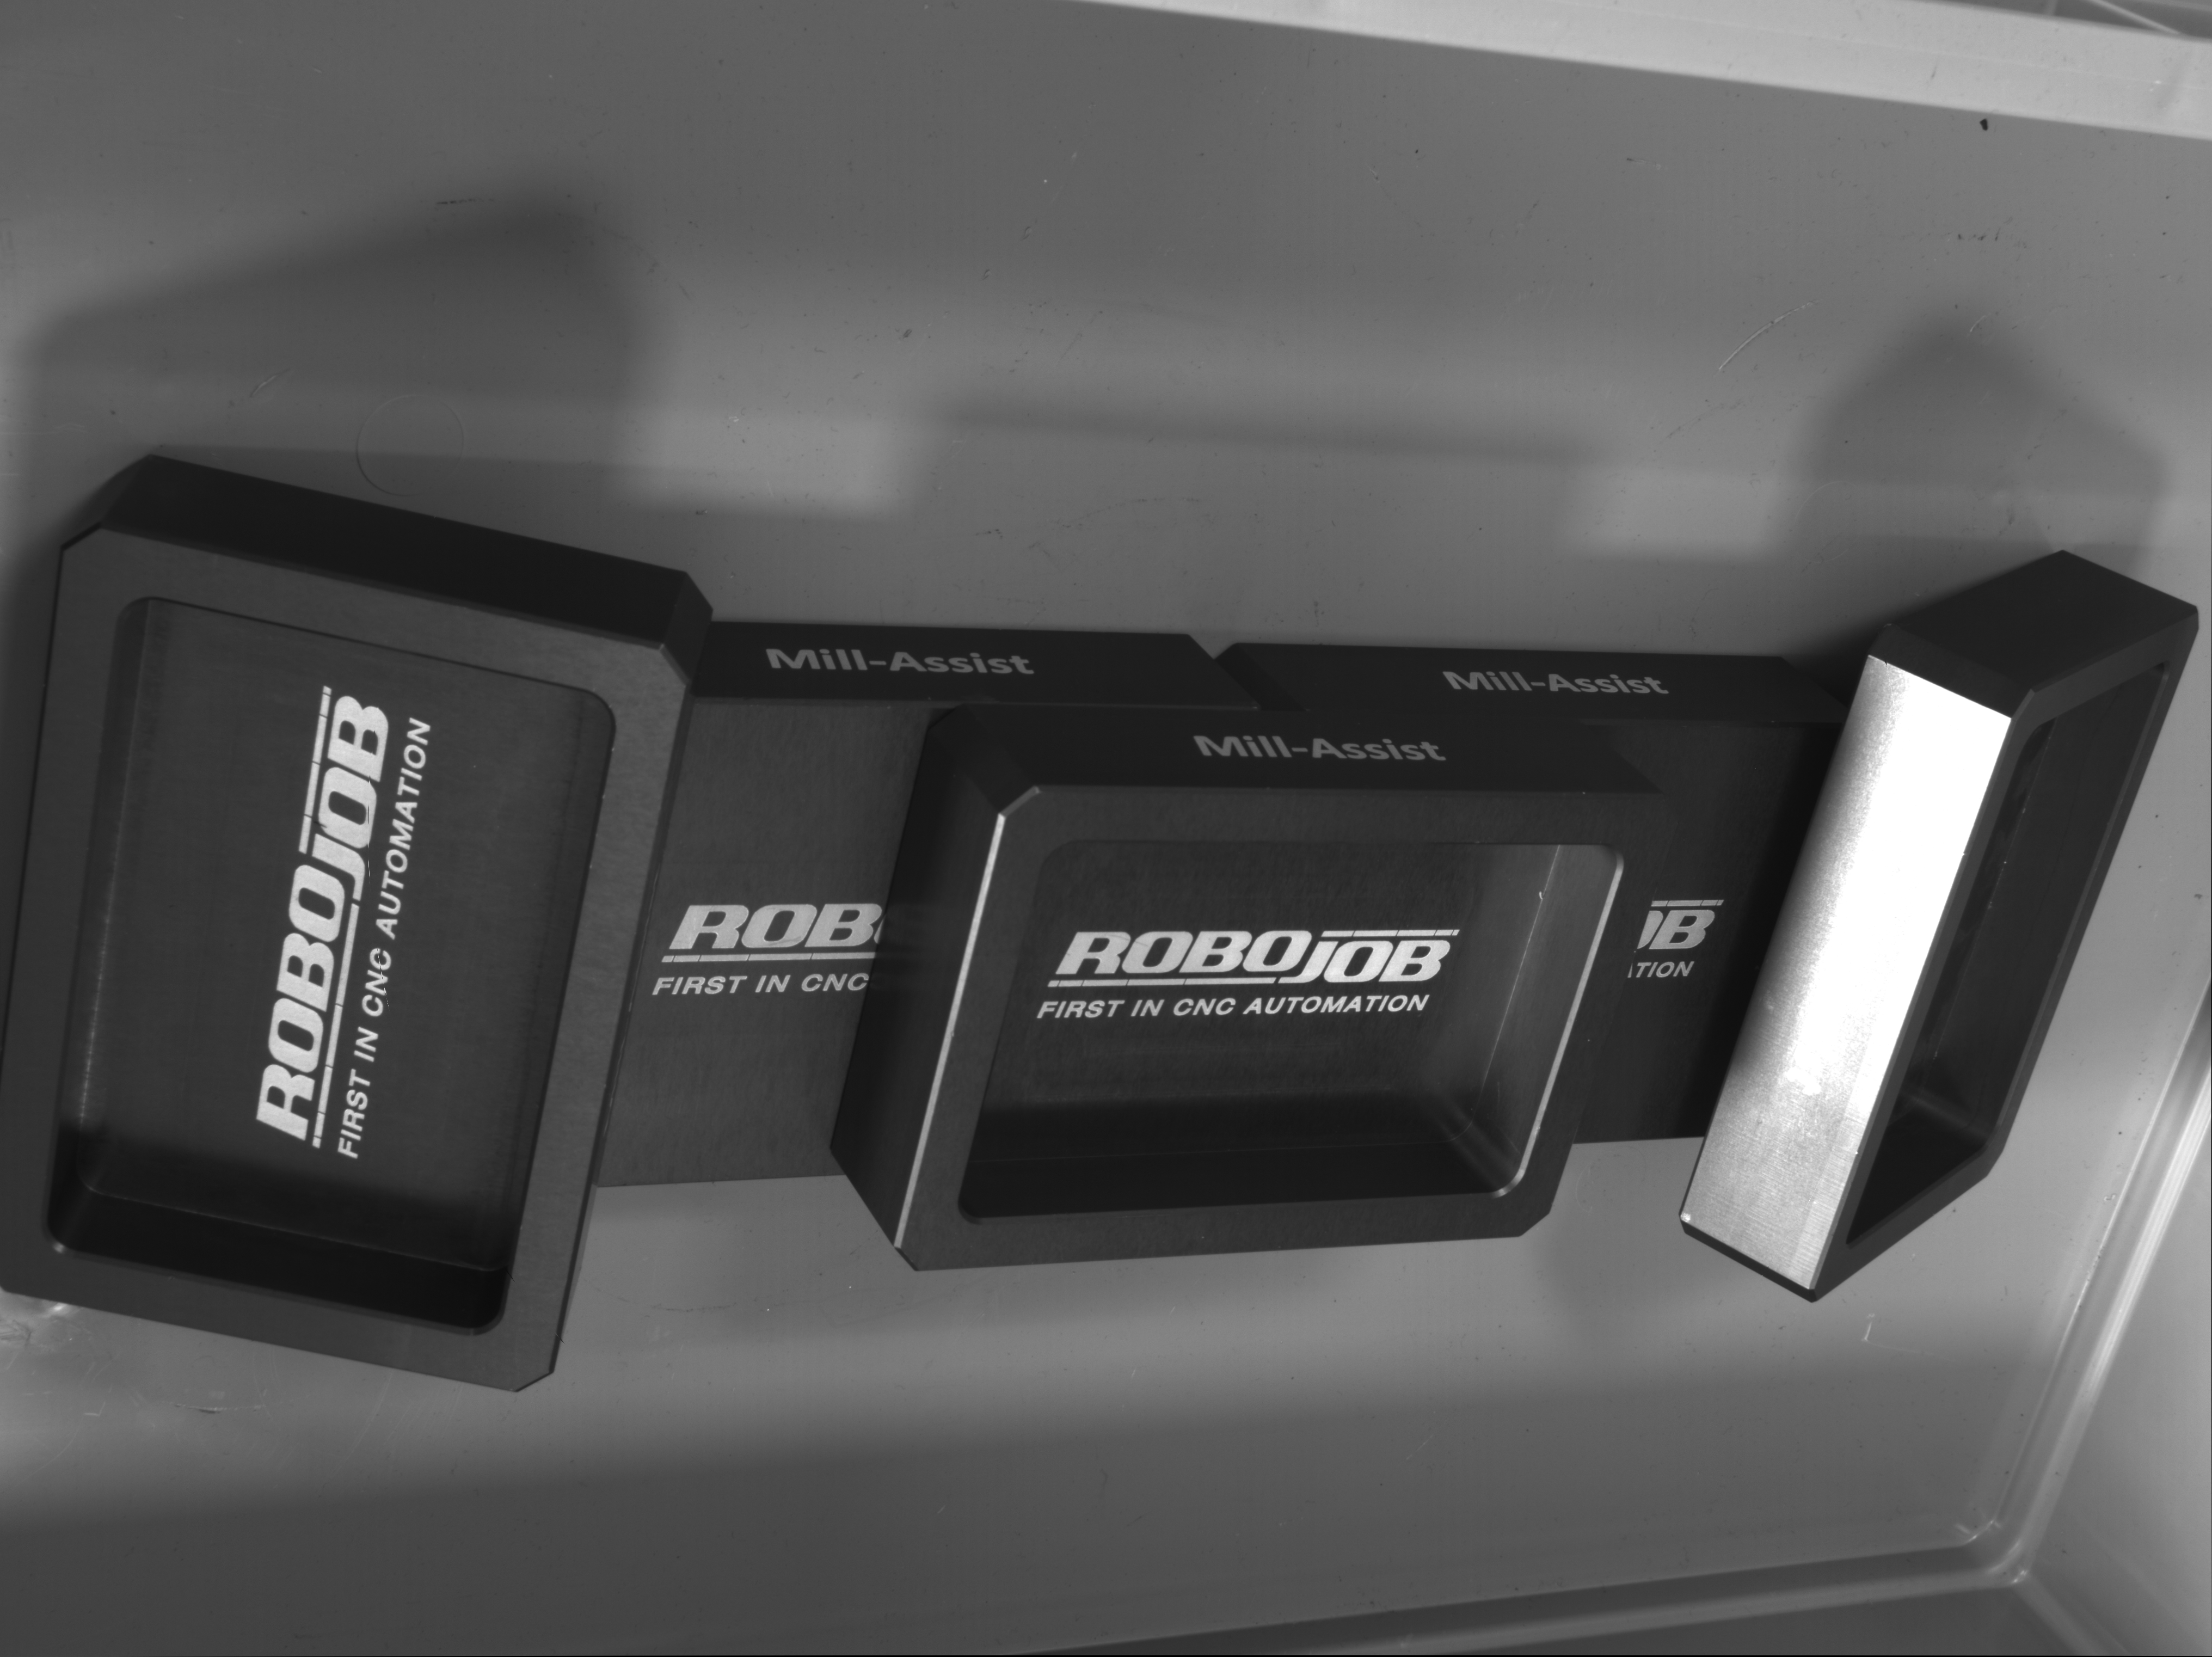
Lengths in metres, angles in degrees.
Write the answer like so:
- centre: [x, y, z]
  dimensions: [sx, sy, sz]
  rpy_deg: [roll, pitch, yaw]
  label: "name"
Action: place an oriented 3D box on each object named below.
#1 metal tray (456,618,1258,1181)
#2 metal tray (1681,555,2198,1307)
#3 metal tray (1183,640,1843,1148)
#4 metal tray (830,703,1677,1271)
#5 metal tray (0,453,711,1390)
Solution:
- centre: [-0.044, 0.012, 0.618]
  dimensions: [0.130, 0.030, 0.090]
  rpy_deg: [0, 118, -28]
  label: "metal tray"
- centre: [0.160, 0.018, 0.705]
  dimensions: [0.090, 0.030, 0.130]
  rpy_deg: [-21, 132, -52]
  label: "metal tray"
- centre: [0.071, 0.013, 0.680]
  dimensions: [0.130, 0.030, 0.090]
  rpy_deg: [0, 118, -28]
  label: "metal tray"
- centre: [0.026, 0.027, 0.624]
  dimensions: [0.130, 0.030, 0.090]
  rpy_deg: [1, 117, -28]
  label: "metal tray"
- centre: [-0.117, 0.016, 0.557]
  dimensions: [0.090, 0.030, 0.130]
  rpy_deg: [12, 115, -5]
  label: "metal tray"
